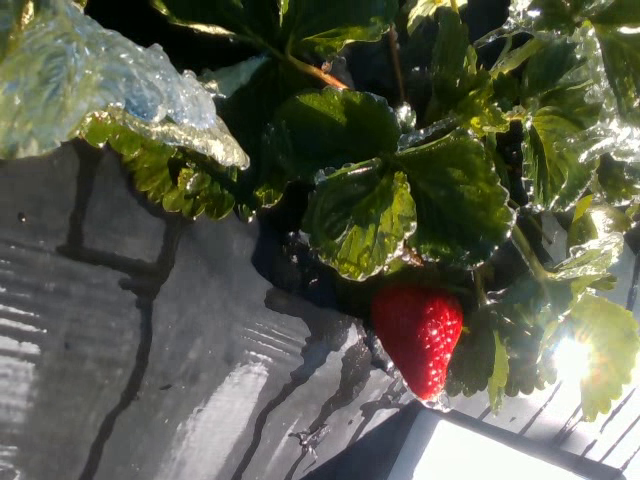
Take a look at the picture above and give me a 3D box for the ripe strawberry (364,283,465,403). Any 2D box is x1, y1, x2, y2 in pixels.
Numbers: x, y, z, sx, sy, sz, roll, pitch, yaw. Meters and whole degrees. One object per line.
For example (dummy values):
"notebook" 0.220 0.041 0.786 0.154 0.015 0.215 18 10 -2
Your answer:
"ripe strawberry" 0.042 0.044 0.245 0.041 0.053 0.047 21 -36 -25
